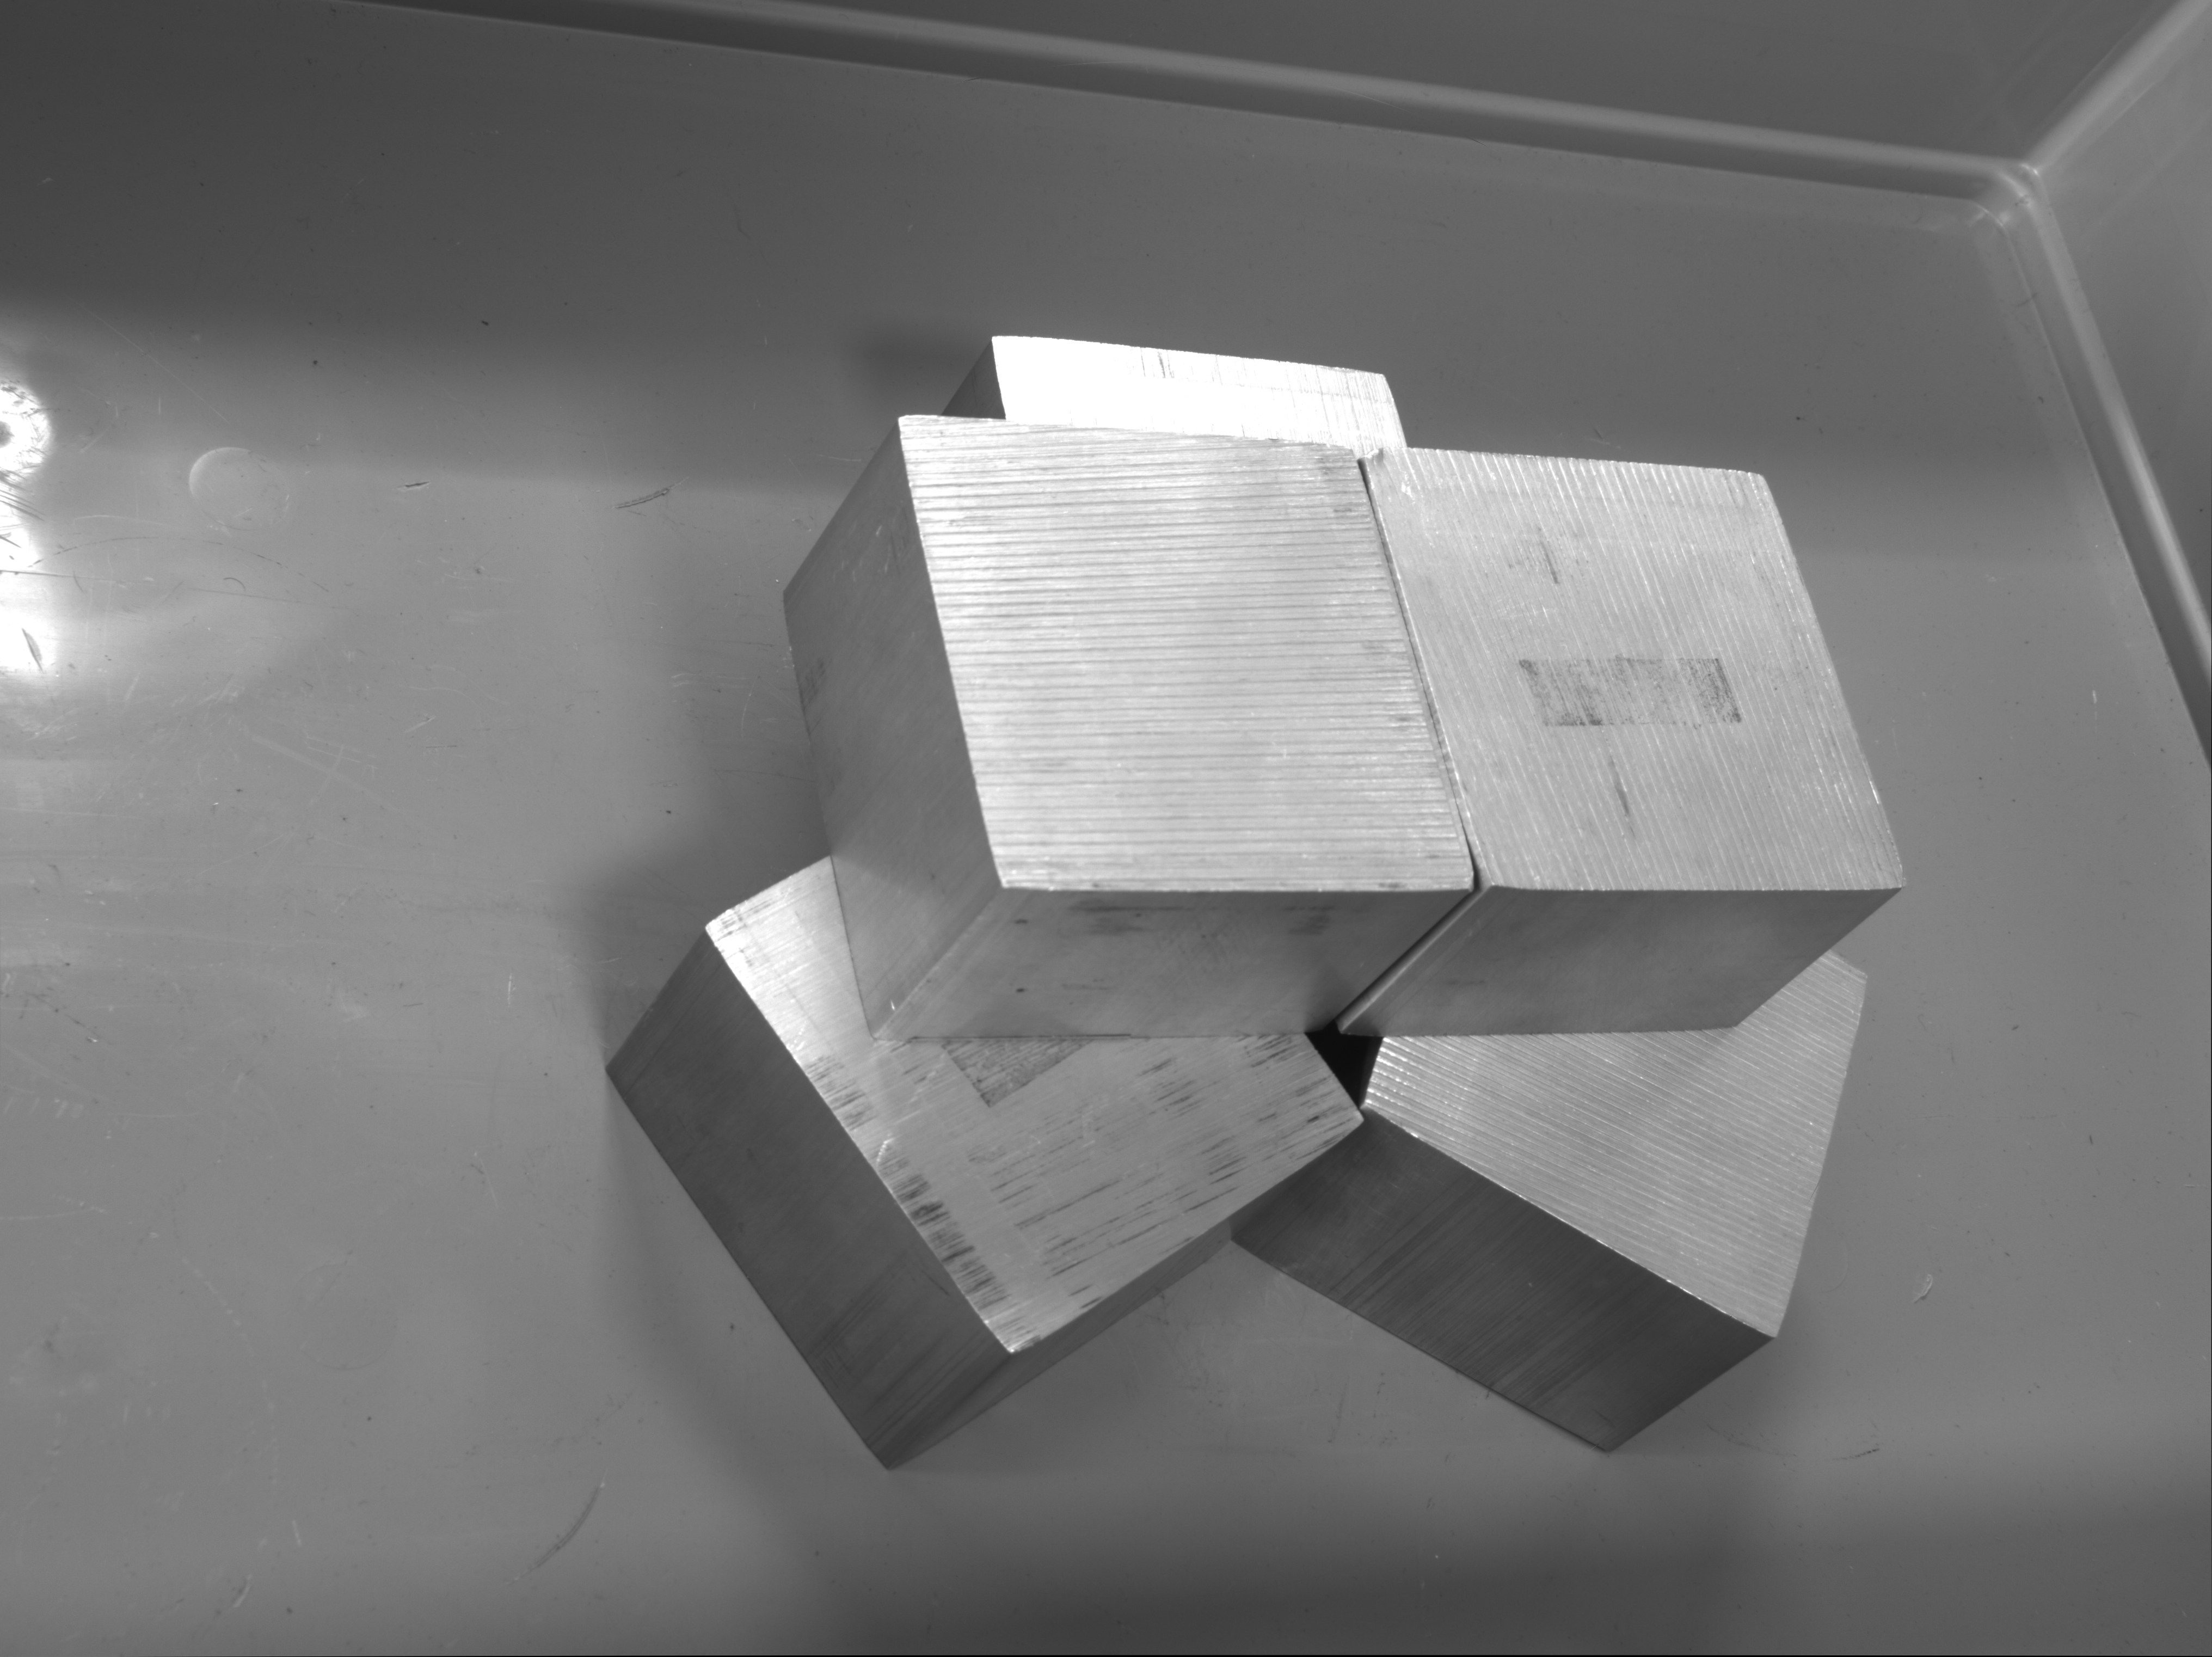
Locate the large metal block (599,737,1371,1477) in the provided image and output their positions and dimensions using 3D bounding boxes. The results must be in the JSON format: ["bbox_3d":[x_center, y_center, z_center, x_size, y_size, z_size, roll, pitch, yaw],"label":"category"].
[{"bbox_3d":[-0.019,0.042,0.585,0.080,0.050,0.080,-29,78,-37],"label":"large metal block"}]

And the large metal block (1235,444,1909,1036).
[{"bbox_3d":[0.074,-0.013,0.603,0.080,0.050,0.080,1,61,-28],"label":"large metal block"}]

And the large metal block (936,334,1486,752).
[{"bbox_3d":[0.013,-0.037,0.651,0.080,0.050,0.080,2,61,-27],"label":"large metal block"}]

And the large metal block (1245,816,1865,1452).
[{"bbox_3d":[0.076,0.047,0.632,0.080,0.050,0.080,30,52,-8],"label":"large metal block"}]

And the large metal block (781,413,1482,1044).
[{"bbox_3d":[0.002,-0.014,0.567,0.080,0.050,0.080,1,61,-28],"label":"large metal block"}]
